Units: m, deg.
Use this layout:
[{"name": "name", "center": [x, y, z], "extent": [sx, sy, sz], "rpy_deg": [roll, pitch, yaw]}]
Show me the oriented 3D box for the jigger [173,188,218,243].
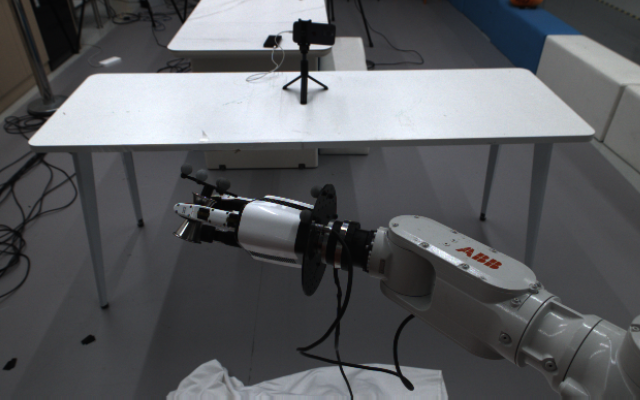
[{"name": "jigger", "center": [-0.184, 0.025, 0.712], "extent": [0.043, 0.071, 0.043], "rpy_deg": [23, -2, 1]}]
